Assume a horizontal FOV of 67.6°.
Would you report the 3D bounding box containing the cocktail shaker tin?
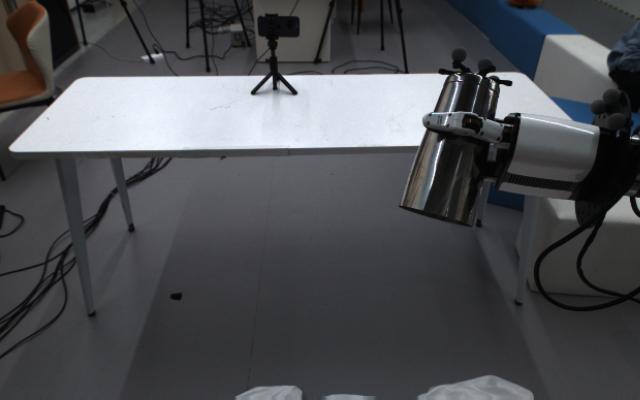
[{"bbox_3d":[0.165,-0.061,0.589,0.093,0.170,0.093,16,-2,1],"label":"cocktail shaker tin"}]
